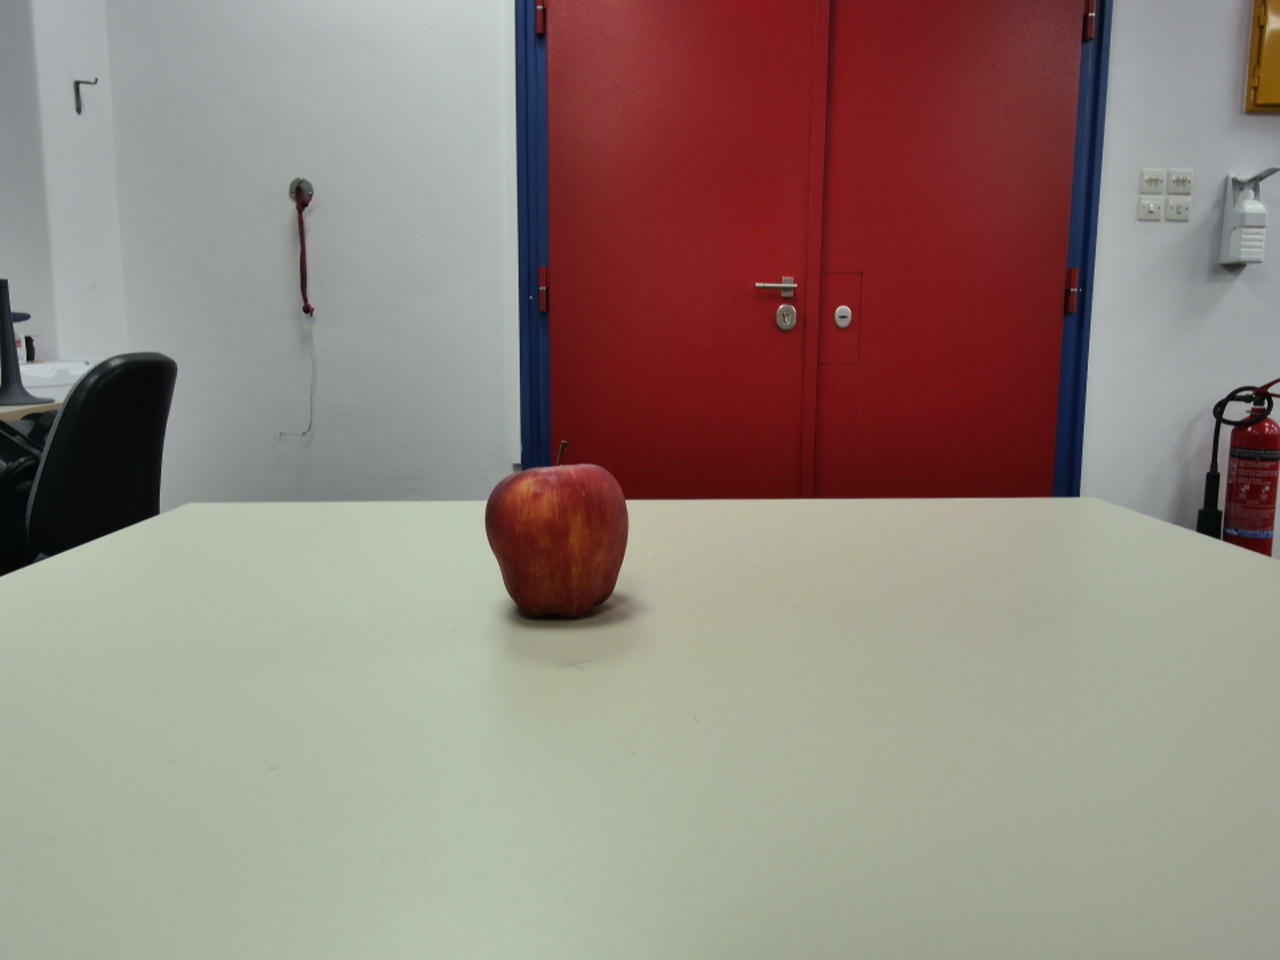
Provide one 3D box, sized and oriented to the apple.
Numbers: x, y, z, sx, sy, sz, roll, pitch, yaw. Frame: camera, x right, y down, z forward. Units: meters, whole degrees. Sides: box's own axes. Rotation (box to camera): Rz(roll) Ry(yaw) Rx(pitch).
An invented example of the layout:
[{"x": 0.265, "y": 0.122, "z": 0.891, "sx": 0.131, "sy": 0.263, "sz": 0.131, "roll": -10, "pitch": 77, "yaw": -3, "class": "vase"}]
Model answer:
[{"x": -0.045, "y": 0.026, "z": 0.531, "sx": 0.083, "sy": 0.090, "sz": 0.083, "roll": 0, "pitch": 6, "yaw": 0, "class": "apple"}]
